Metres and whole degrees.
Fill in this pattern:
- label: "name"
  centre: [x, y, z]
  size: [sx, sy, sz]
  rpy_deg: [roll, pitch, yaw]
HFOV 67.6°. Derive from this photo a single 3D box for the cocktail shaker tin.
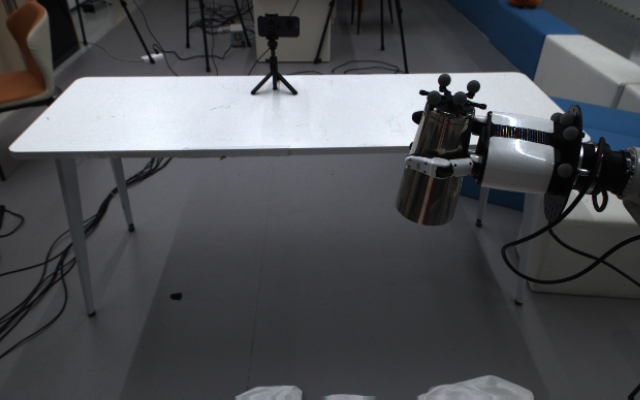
- label: "cocktail shaker tin"
  centre: [0.170, -0.060, 0.696]
  size: [0.093, 0.170, 0.093]
  rpy_deg: [4, 36, -3]
